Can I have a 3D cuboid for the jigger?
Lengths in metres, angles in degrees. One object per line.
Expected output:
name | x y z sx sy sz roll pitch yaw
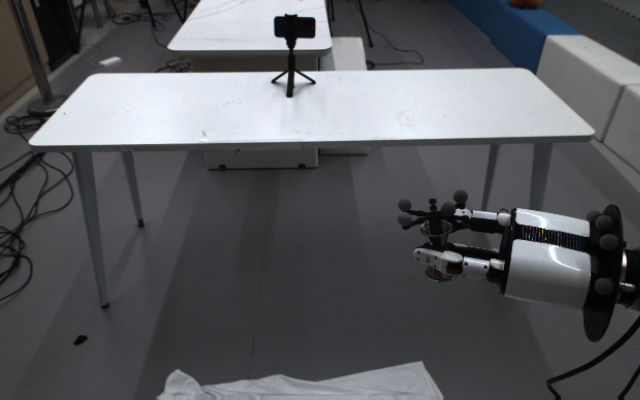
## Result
jigger | 0.152 0.064 0.621 0.043 0.071 0.043 -11 24 5
